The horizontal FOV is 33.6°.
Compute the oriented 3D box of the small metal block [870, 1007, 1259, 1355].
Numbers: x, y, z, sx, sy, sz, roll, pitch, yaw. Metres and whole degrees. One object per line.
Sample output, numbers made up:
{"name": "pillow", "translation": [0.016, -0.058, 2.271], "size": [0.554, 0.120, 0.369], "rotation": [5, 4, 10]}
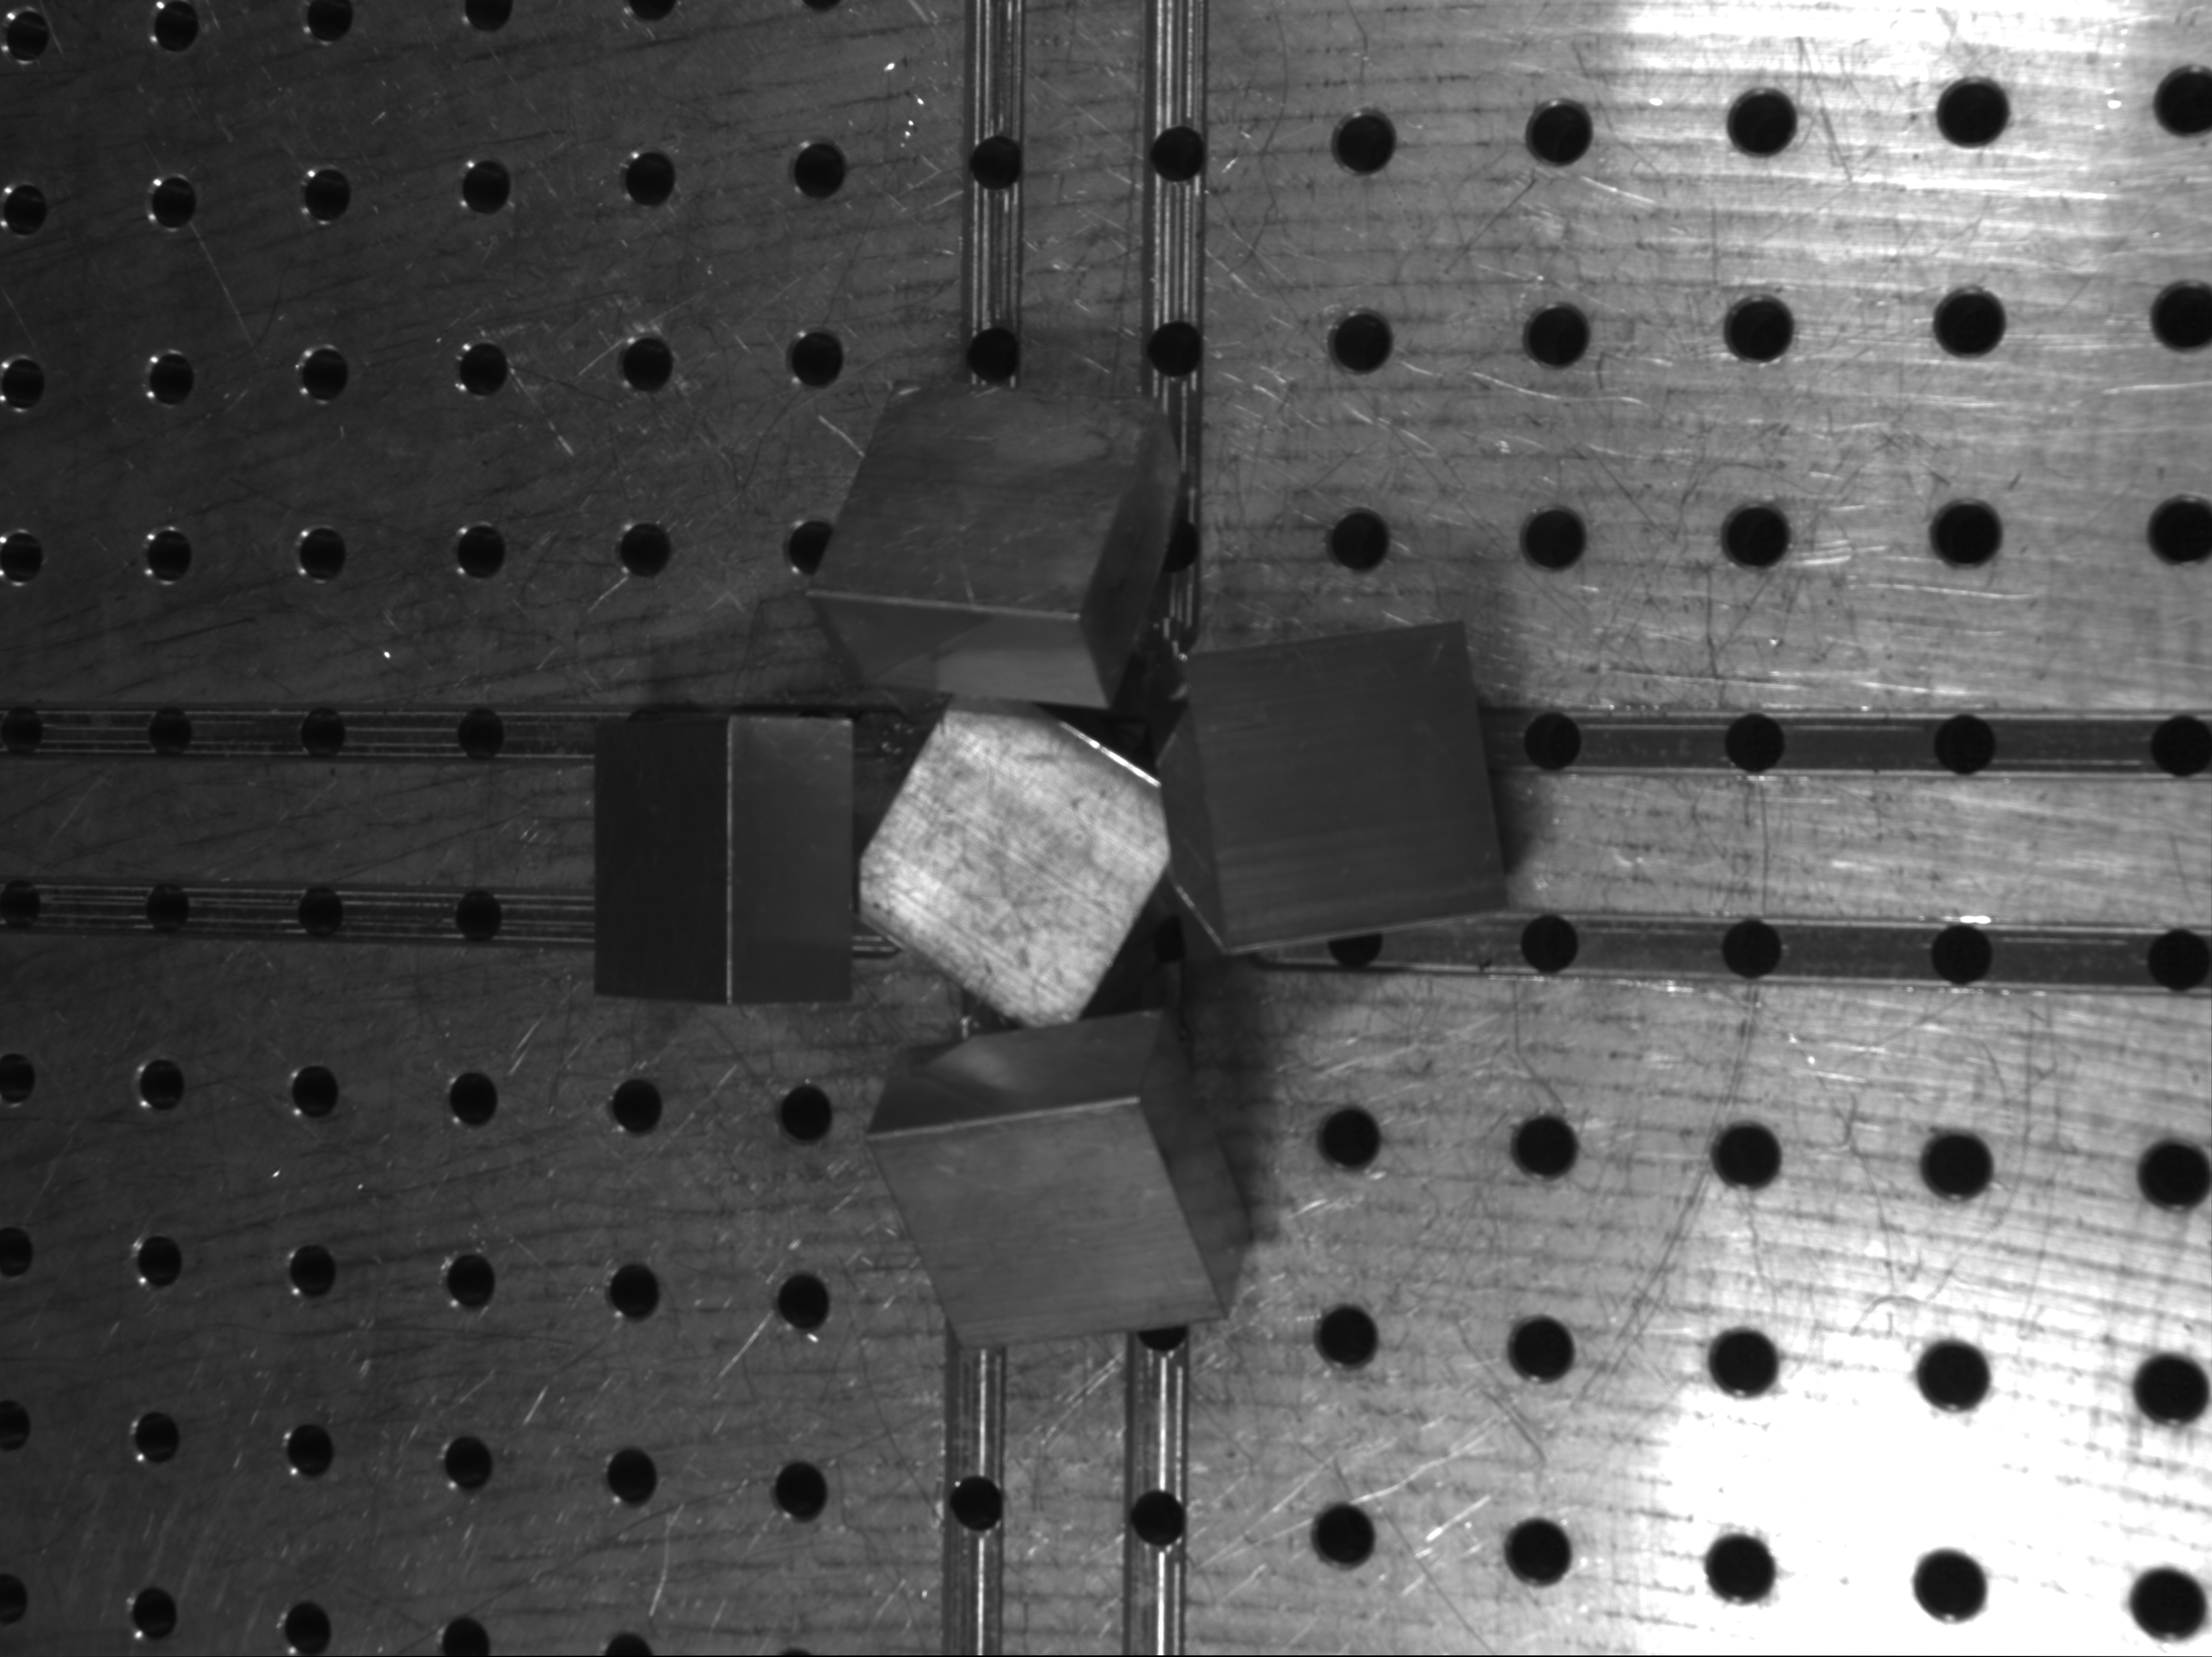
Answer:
{"name": "small metal block", "translation": [-0.006, 0.062, 0.636], "size": [0.050, 0.025, 0.050], "rotation": [-10, 122, 19]}

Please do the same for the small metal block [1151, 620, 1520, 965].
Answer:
{"name": "small metal block", "translation": [0.039, -0.006, 0.620], "size": [0.050, 0.025, 0.050], "rotation": [-8, 86, -16]}

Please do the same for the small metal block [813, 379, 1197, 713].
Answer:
{"name": "small metal block", "translation": [-0.017, -0.050, 0.640], "size": [0.050, 0.025, 0.050], "rotation": [7, 56, 20]}

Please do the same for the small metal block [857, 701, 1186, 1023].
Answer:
{"name": "small metal block", "translation": [-0.010, 0.005, 0.650], "size": [0.050, 0.025, 0.050], "rotation": [33, 100, 17]}

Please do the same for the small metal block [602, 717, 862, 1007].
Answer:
{"name": "small metal block", "translation": [-0.068, 0.006, 0.659], "size": [0.050, 0.025, 0.050], "rotation": [0, 89, 55]}
